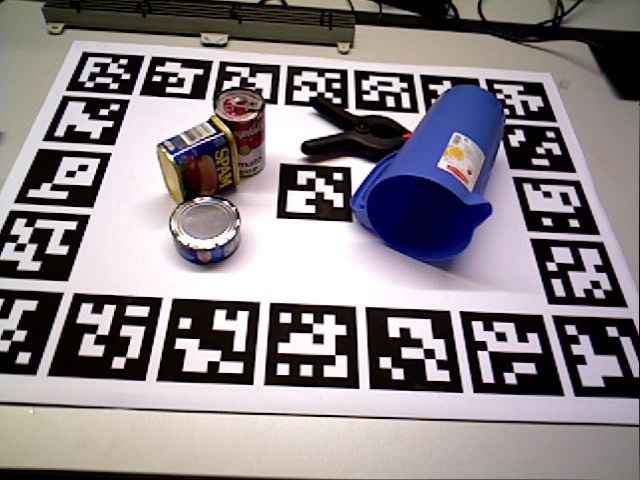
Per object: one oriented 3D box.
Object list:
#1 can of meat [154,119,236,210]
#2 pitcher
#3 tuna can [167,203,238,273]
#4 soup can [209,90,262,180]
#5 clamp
[{"bbox_3d":[-0.159,-0.090,0.690,0.082,0.104,0.057,-30,63,-20],"label":"can of meat"},{"bbox_3d":[0.156,-0.095,0.700,0.190,0.135,0.237,6,43,27],"label":"pitcher"},{"bbox_3d":[-0.145,-0.003,0.674,0.085,0.034,0.084,2,56,-3],"label":"tuna can"},{"bbox_3d":[-0.113,-0.140,0.735,0.067,0.104,0.067,1,55,-2],"label":"soup can"},{"bbox_3d":[0.039,-0.153,0.809,0.164,0.037,0.120,7,50,-4],"label":"clamp"}]
